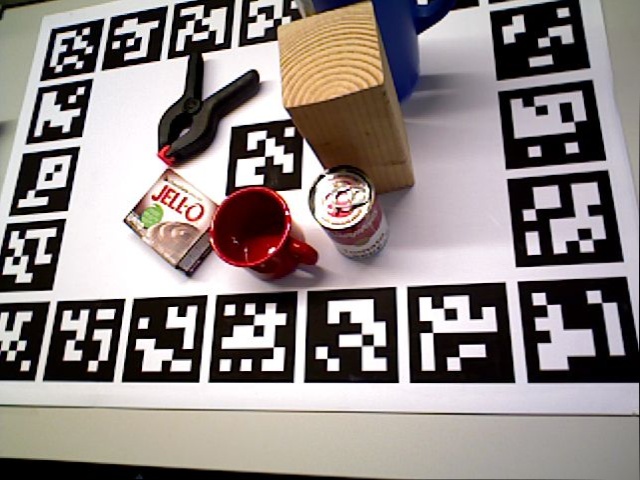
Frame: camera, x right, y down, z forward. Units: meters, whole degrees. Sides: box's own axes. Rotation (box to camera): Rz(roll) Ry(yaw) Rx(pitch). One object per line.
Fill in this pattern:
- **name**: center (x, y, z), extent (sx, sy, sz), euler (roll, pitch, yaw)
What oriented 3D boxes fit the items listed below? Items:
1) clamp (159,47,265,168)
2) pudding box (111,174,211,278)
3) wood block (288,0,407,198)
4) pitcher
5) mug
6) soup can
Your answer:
- **clamp**: center (-0.161, -0.170, 0.720), extent (0.122, 0.037, 0.164), euler (27, 81, 16)
- **pudding box**: center (-0.188, -0.020, 0.668), extent (0.114, 0.039, 0.090), euler (35, 86, 25)
- **wood block**: center (0.035, -0.126, 0.540), extent (0.090, 0.208, 0.090), euler (-5, 67, 10)
- **pitcher**: center (0.059, -0.247, 0.560), extent (0.190, 0.244, 0.132), euler (-5, 66, 17)
- **mug**: center (-0.059, 0.007, 0.592), extent (0.117, 0.082, 0.092), euler (33, 79, 26)
- **soup can**: center (0.029, -0.022, 0.563), extent (0.068, 0.102, 0.067), euler (-5, 70, 14)
